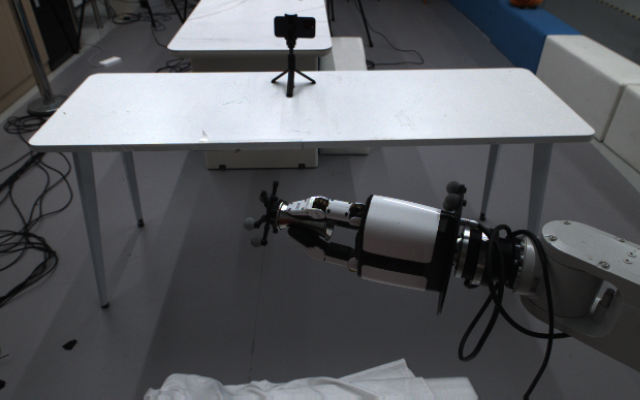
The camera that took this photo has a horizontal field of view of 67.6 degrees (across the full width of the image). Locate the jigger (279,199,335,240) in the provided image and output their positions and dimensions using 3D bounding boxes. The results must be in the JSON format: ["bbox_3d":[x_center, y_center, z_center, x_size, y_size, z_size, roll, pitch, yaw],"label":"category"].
[{"bbox_3d":[-0.012,0.021,0.629,0.071,0.043,0.043,10,35,16],"label":"jigger"}]
